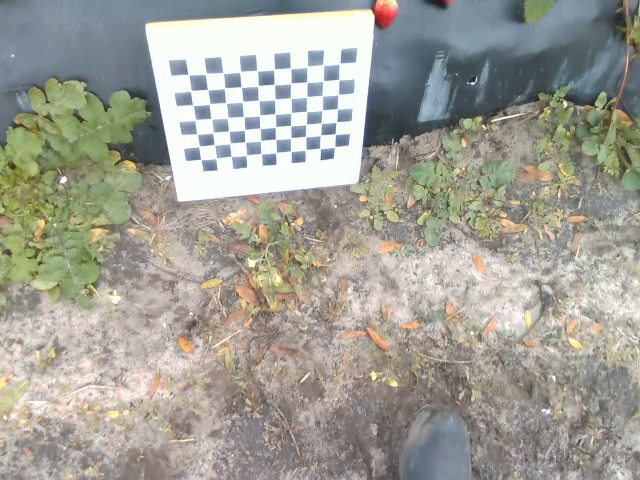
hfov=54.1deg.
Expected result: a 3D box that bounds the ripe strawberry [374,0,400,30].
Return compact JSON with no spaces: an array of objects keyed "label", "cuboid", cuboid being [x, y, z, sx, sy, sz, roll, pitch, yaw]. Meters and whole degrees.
[{"label":"ripe strawberry","cuboid":[0.090,-0.302,0.838,0.036,0.041,0.028,0,27,-1]}]
